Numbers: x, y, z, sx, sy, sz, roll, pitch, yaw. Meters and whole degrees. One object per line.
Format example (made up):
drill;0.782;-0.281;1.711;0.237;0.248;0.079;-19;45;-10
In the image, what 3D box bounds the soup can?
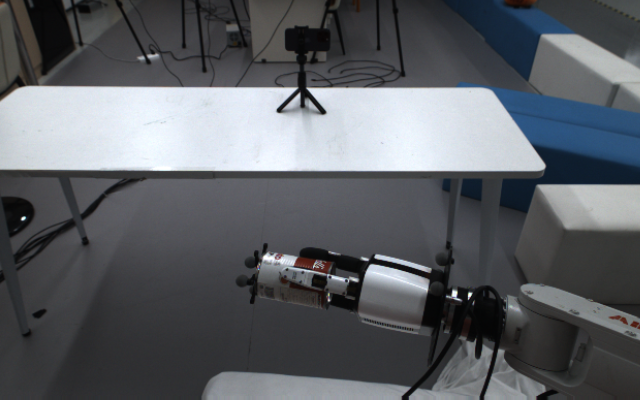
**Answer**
soup can;-0.031;0.114;0.683;0.101;0.067;0.067;8;35;11
